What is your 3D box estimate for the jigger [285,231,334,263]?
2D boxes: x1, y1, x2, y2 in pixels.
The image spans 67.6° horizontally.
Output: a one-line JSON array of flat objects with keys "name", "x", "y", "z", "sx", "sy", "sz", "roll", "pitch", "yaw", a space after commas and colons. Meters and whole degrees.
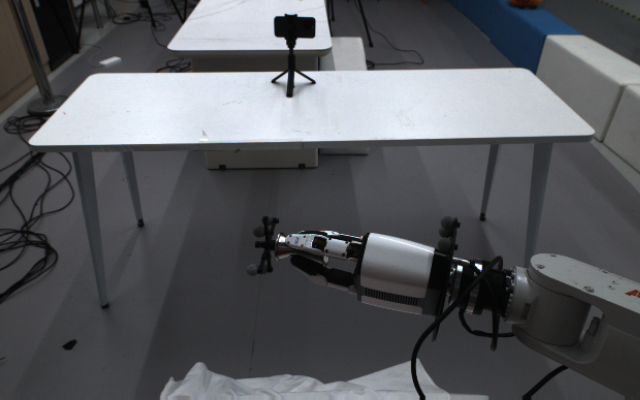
[{"name": "jigger", "x": -0.017, "y": 0.062, "z": 0.658, "sx": 0.071, "sy": 0.043, "sz": 0.043, "roll": 4, "pitch": 34, "yaw": 13}]
